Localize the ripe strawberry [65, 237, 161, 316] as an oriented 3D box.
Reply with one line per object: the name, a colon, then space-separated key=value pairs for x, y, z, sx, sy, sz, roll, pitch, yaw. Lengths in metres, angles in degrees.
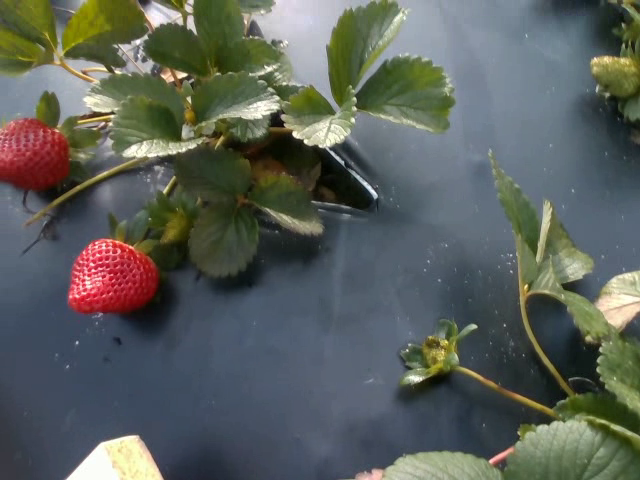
ripe strawberry: x=-0.077 y=0.015 z=0.204 sx=0.037 sy=0.034 sz=0.039 roll=-39 pitch=-2 yaw=36

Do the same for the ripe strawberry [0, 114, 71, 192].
ripe strawberry: x=-0.120 y=-0.034 z=0.229 sx=0.036 sy=0.041 sz=0.035 roll=-22 pitch=47 yaw=-39
